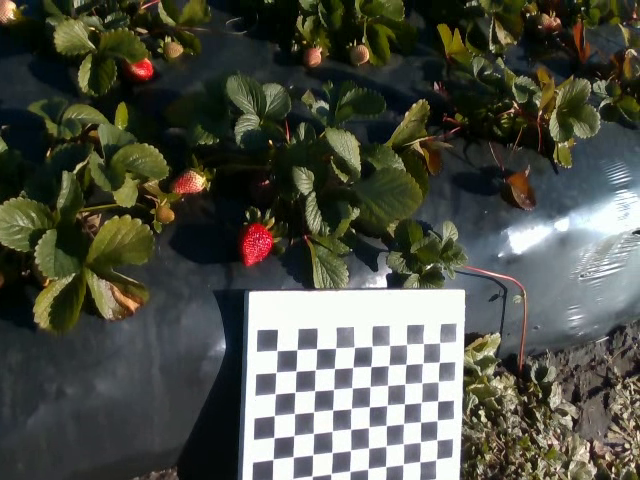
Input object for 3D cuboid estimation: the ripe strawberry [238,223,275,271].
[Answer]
[{"bbox_3d":[-0.077,0.008,0.705,0.058,0.066,0.062,-38,20,11],"label":"ripe strawberry"}]
